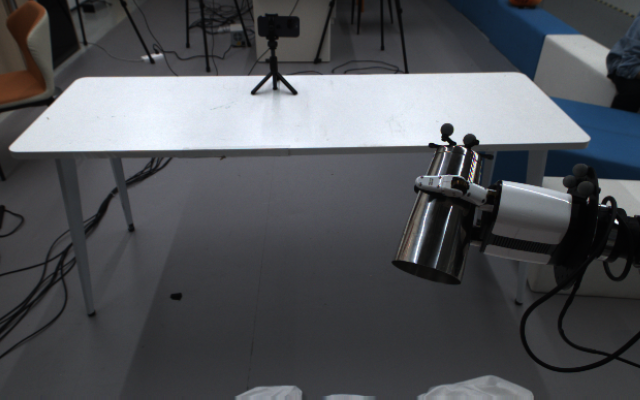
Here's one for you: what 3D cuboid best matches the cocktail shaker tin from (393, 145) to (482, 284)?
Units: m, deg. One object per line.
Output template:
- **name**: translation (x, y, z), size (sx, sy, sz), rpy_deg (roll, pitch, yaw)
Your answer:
- **cocktail shaker tin**: translation (0.165, 0.017, 0.644), size (0.093, 0.093, 0.170), rpy_deg (15, 74, 18)
